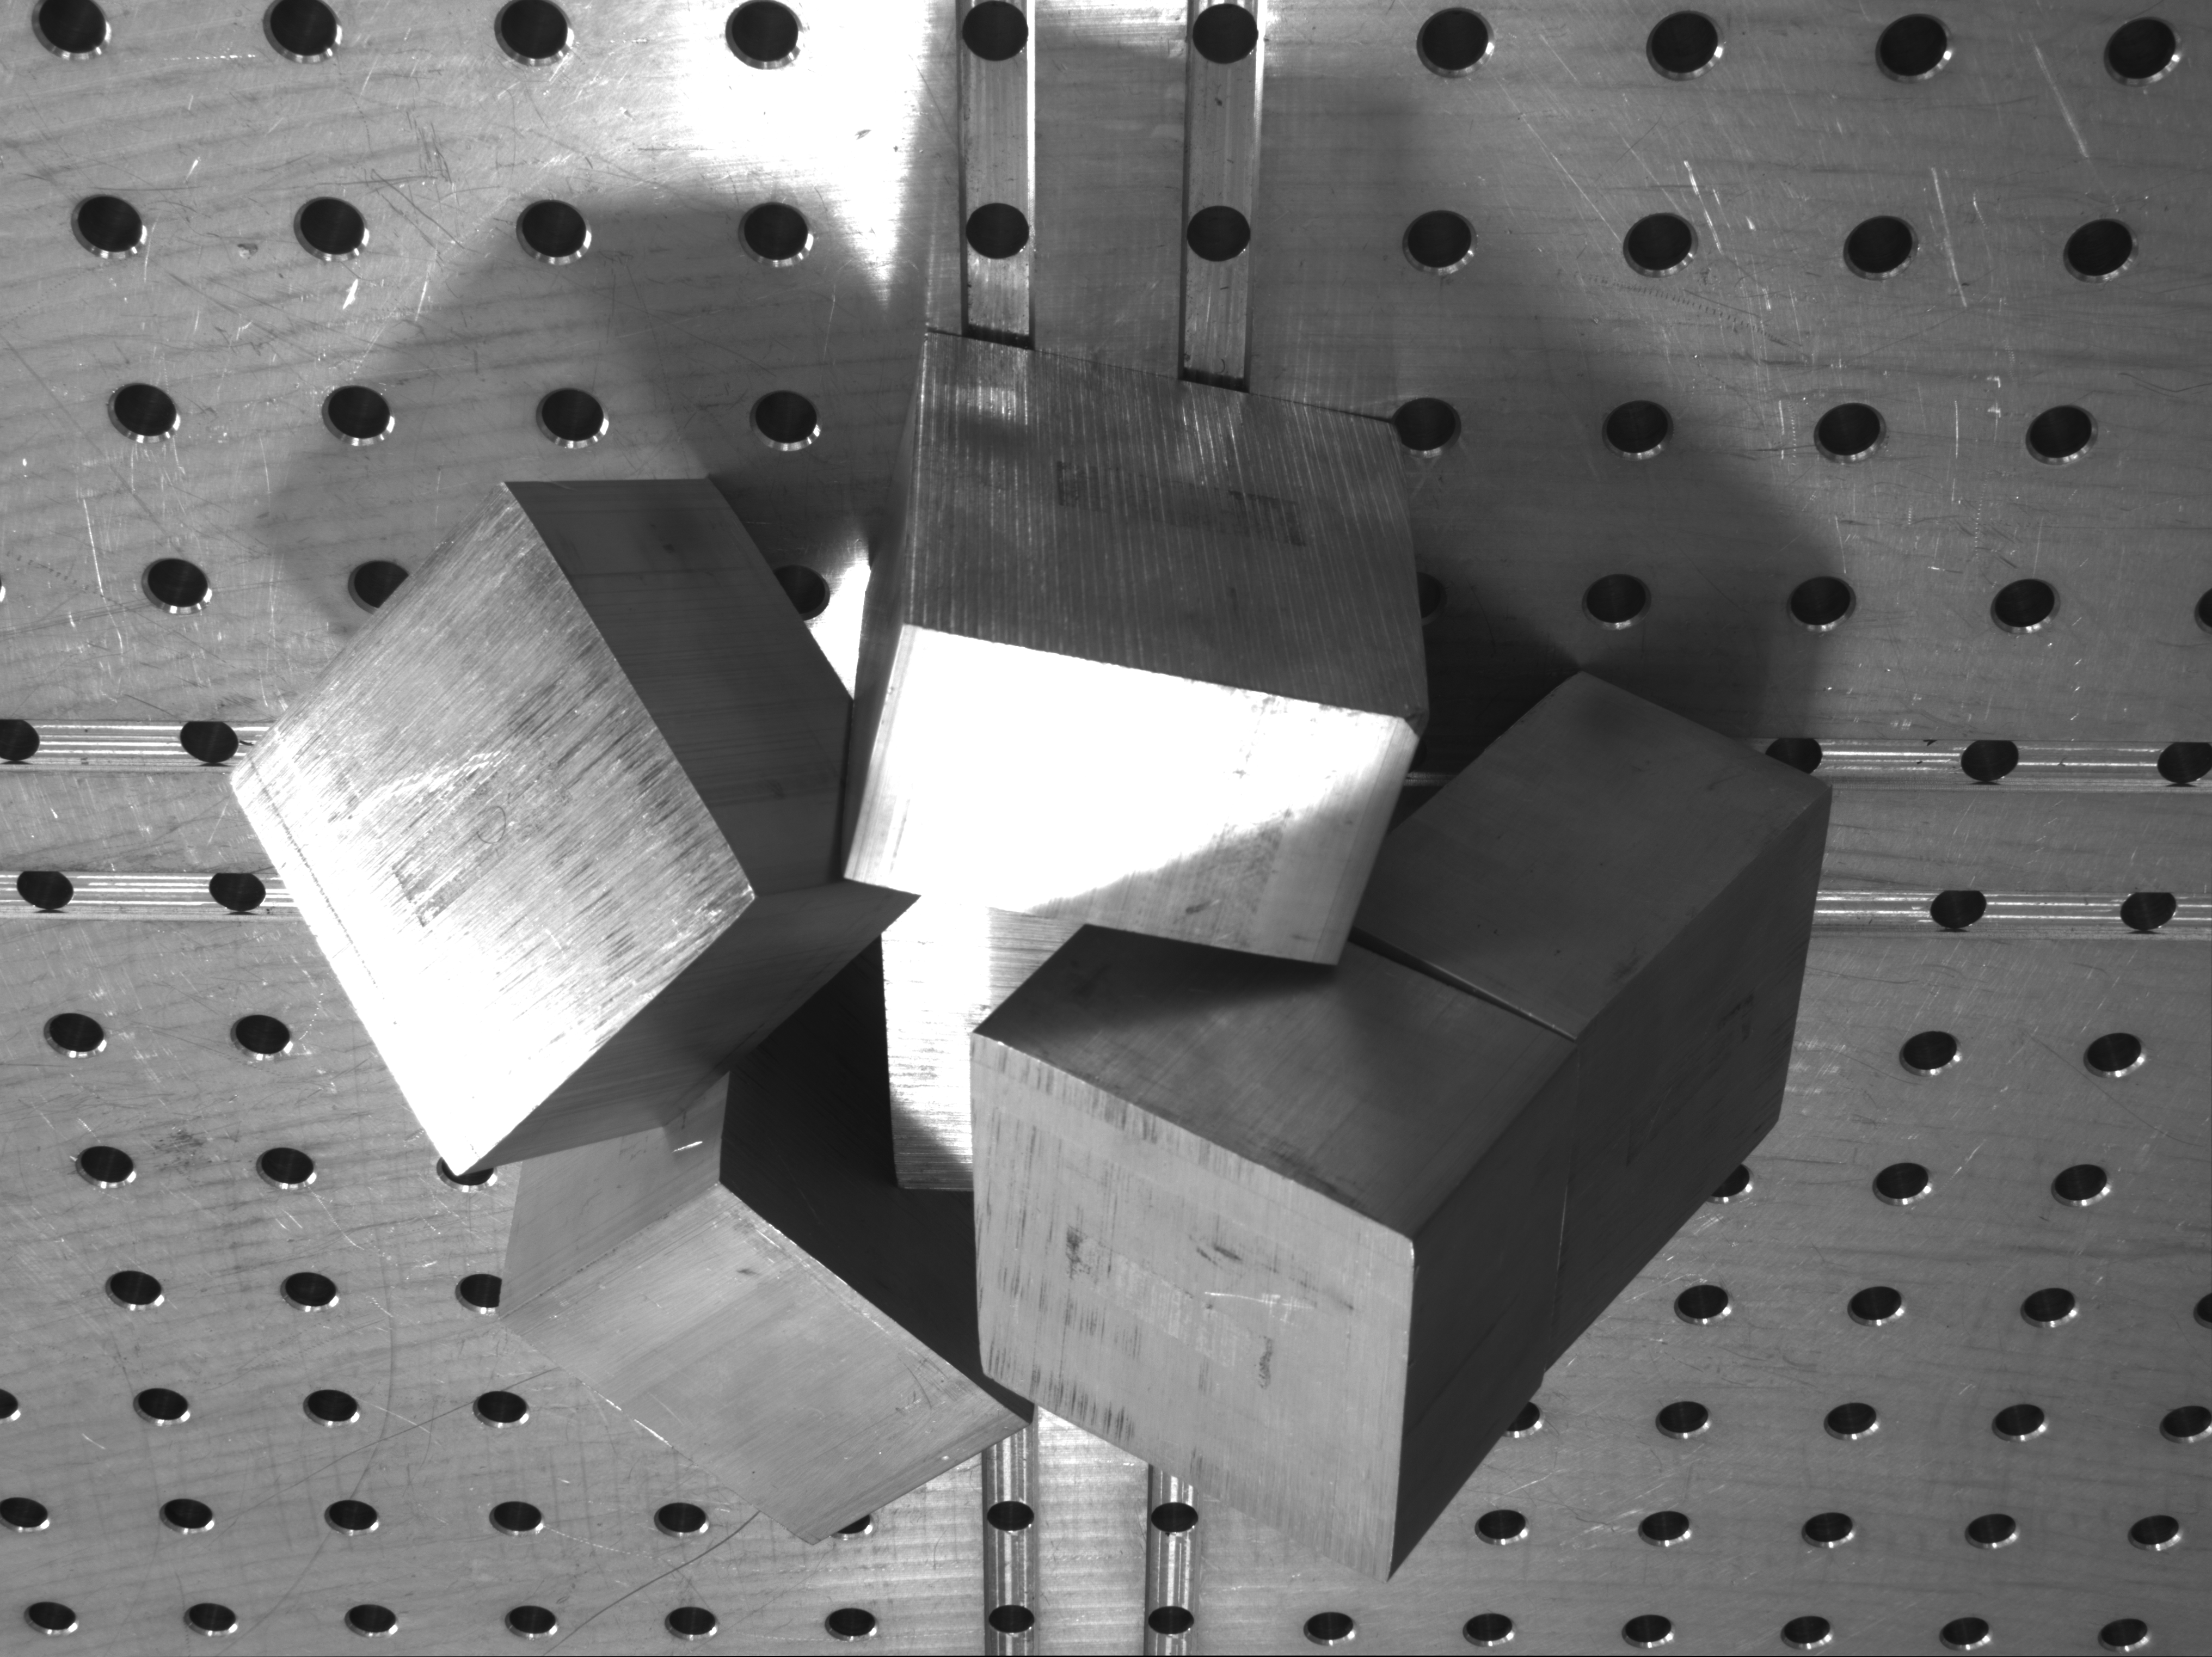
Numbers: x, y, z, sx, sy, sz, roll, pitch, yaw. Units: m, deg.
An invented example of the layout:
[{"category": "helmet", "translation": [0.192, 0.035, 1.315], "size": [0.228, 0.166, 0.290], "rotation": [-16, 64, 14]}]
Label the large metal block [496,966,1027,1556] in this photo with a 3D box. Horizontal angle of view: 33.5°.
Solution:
[{"category": "large metal block", "translation": [-0.059, 0.070, 0.664], "size": [0.050, 0.080, 0.080], "rotation": [-33, 123, 24]}]

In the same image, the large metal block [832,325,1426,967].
[{"category": "large metal block", "translation": [0.003, -0.030, 0.583], "size": [0.080, 0.080, 0.050], "rotation": [10, 129, -8]}]

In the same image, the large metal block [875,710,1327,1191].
[{"category": "large metal block", "translation": [0.001, 0.017, 0.641], "size": [0.080, 0.050, 0.080], "rotation": [1, 130, 0]}]

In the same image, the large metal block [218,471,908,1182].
[{"category": "large metal block", "translation": [-0.086, -0.001, 0.597], "size": [0.080, 0.080, 0.050], "rotation": [-41, 163, 29]}]

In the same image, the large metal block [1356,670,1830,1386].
[{"category": "large metal block", "translation": [0.077, 0.033, 0.624], "size": [0.050, 0.080, 0.080], "rotation": [26, 136, 28]}]

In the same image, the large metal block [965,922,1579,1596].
[{"category": "large metal block", "translation": [0.025, 0.063, 0.589], "size": [0.080, 0.050, 0.080], "rotation": [23, 134, 26]}]
